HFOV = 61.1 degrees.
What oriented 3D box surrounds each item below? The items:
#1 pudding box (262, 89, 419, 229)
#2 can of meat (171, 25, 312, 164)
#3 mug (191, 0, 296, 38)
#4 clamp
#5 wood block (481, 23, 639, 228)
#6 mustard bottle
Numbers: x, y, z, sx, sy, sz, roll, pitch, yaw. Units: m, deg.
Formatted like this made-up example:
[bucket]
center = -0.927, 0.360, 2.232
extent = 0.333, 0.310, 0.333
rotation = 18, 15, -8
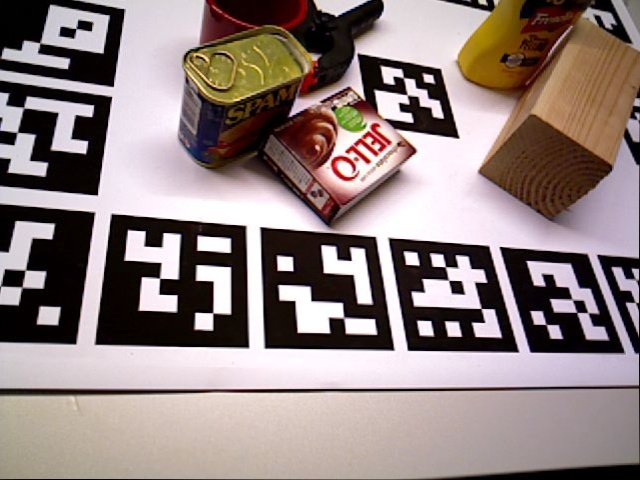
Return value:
[pudding box]
center = 0.019, -0.074, 0.475
extent = 0.090, 0.039, 0.111
rotation = 47, 56, 9
[can of meat]
center = -0.067, -0.115, 0.434
extent = 0.100, 0.086, 0.057
rotation = -26, 74, -30
[mug]
center = -0.074, -0.194, 0.510
extent = 0.093, 0.083, 0.115
rotation = 24, 58, -6
[clamp]
center = -0.001, -0.220, 0.556
extent = 0.121, 0.037, 0.162
rotation = 22, 59, -9
[wood block]
center = 0.256, -0.123, 0.559
extent = 0.090, 0.093, 0.201
rotation = 35, 54, 4
[mustard bottle]
center = 0.226, -0.244, 0.549
extent = 0.095, 0.196, 0.058
rotation = 0, 62, -19
